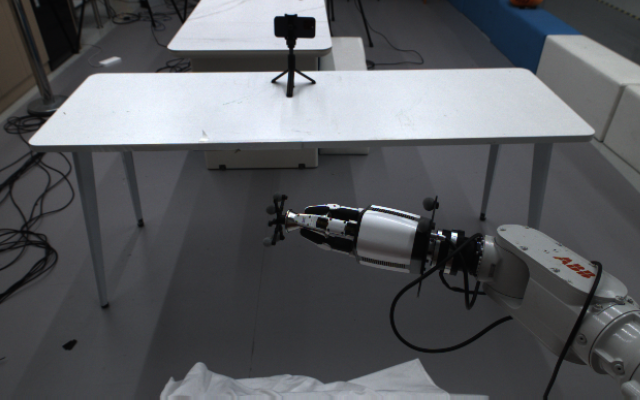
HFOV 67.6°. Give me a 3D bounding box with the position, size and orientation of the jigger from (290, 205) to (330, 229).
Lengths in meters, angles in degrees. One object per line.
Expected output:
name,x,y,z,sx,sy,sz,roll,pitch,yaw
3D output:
jigger,-0.013,0.034,0.786,0.071,0.043,0.043,6,35,14
